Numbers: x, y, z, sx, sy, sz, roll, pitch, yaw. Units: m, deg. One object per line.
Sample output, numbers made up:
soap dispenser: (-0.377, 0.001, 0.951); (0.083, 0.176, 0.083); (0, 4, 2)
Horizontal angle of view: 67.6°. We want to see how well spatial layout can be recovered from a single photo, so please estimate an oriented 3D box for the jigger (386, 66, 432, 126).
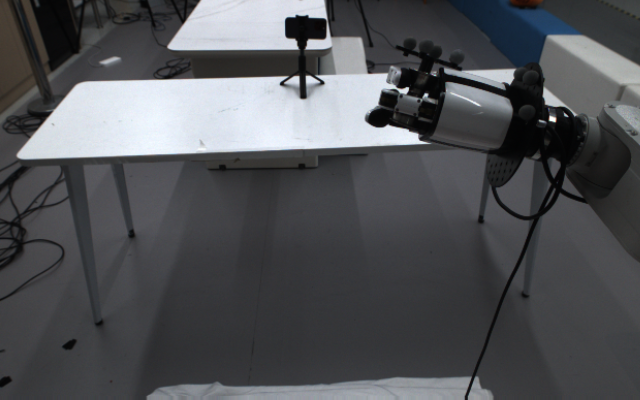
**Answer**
jigger: (0.120, -0.129, 0.614); (0.043, 0.071, 0.043); (18, 17, -6)
